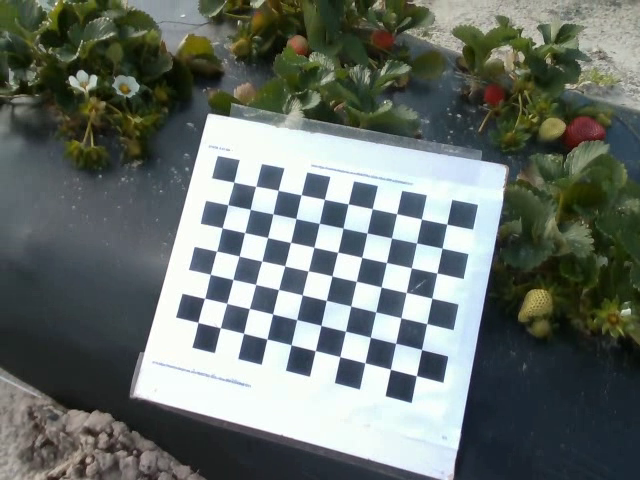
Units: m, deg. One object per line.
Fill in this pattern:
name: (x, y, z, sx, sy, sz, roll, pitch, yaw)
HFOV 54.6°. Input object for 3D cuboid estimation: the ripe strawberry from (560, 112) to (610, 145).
ripe strawberry: (0.353, -0.141, 0.819, 0.048, 0.051, 0.055, 46, -2, -21)
